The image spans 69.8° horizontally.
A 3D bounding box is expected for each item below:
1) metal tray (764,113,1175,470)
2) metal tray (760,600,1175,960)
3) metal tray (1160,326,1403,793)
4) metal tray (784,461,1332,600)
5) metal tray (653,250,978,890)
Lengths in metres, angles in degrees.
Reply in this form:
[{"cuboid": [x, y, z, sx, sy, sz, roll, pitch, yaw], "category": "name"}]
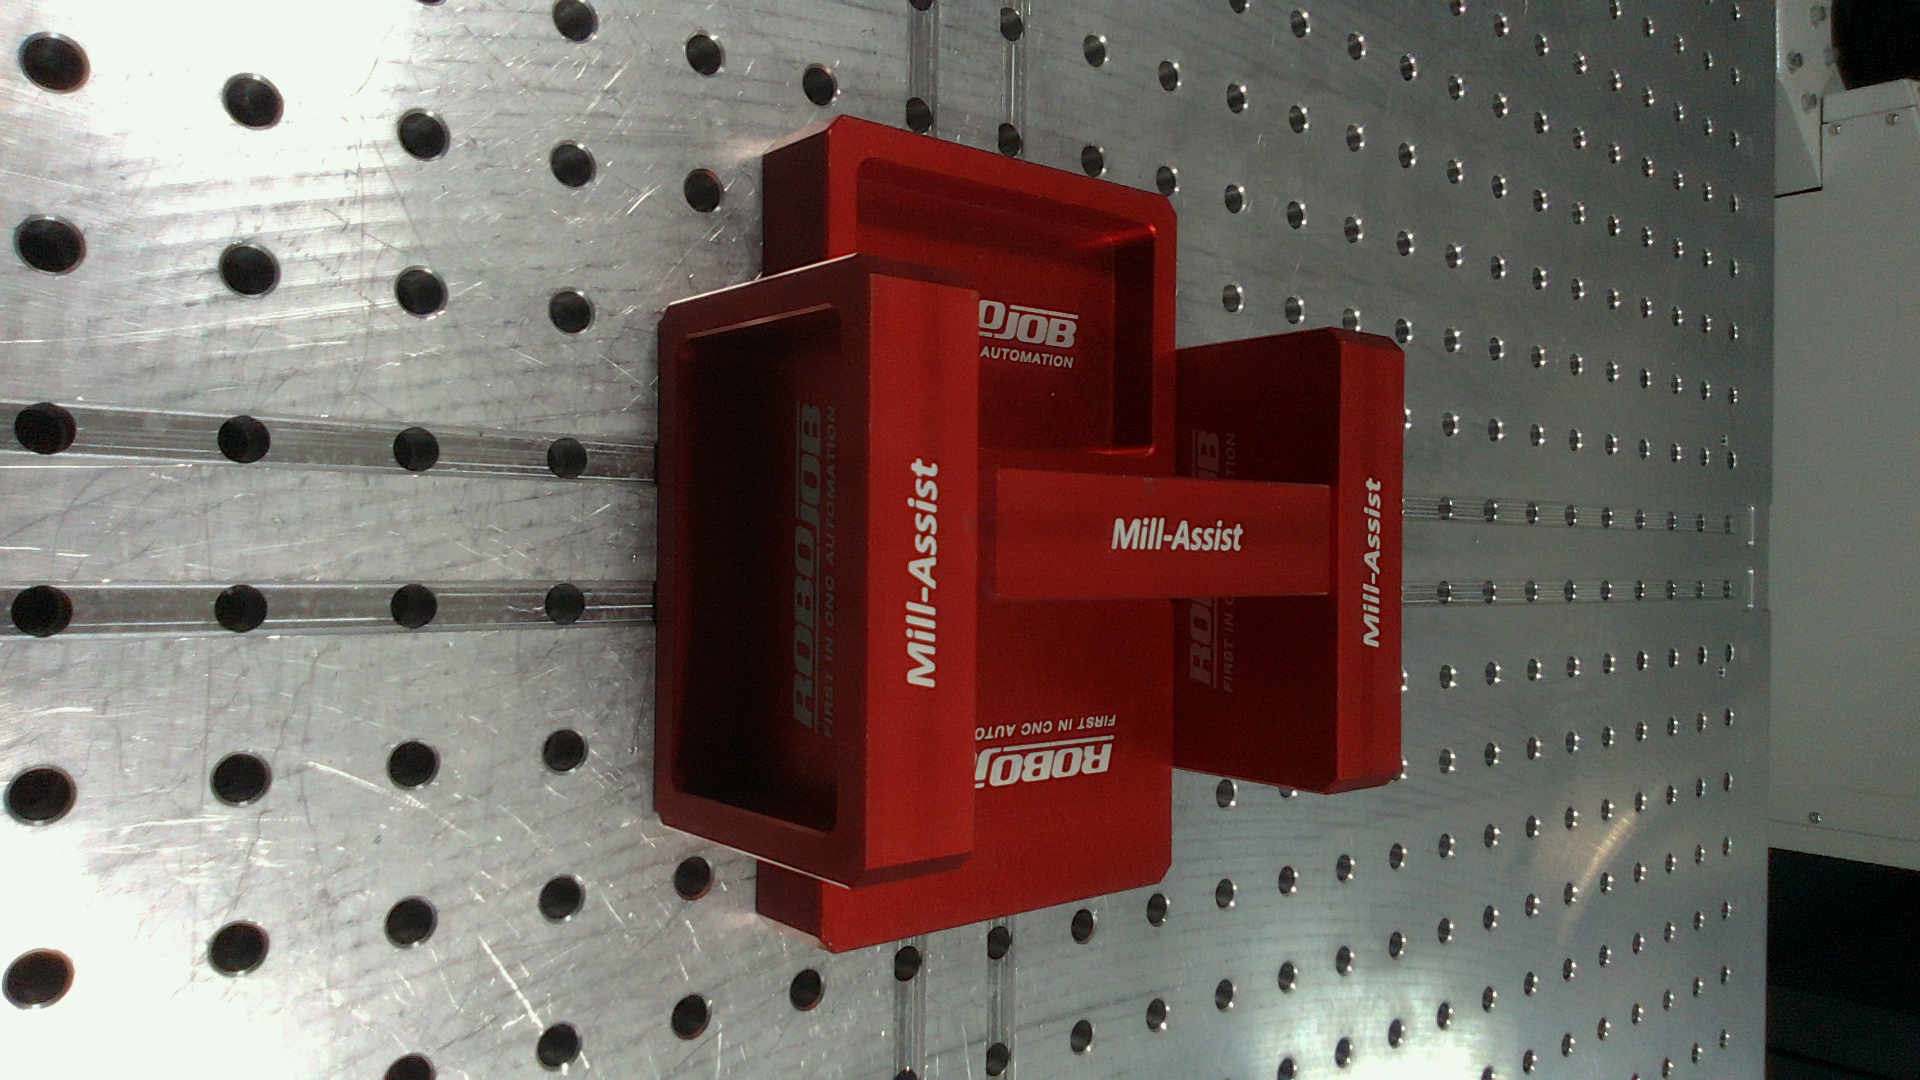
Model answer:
[{"cuboid": [0.007, -0.062, 0.394, 0.131, 0.030, 0.090, 1, 90, -40], "category": "metal tray"}, {"cuboid": [0.007, 0.060, 0.392, 0.131, 0.030, 0.090, 1, 90, -40], "category": "metal tray"}, {"cuboid": [0.088, 0.005, 0.422, 0.030, 0.090, 0.130, 1, 89, -40], "category": "metal tray"}, {"cuboid": [0.026, -0.001, 0.369, 0.131, 0.090, 0.030, 1, 89, -40], "category": "metal tray"}, {"cuboid": [-0.036, 0.006, 0.319, 0.030, 0.090, 0.130, 1, 89, -40], "category": "metal tray"}]
